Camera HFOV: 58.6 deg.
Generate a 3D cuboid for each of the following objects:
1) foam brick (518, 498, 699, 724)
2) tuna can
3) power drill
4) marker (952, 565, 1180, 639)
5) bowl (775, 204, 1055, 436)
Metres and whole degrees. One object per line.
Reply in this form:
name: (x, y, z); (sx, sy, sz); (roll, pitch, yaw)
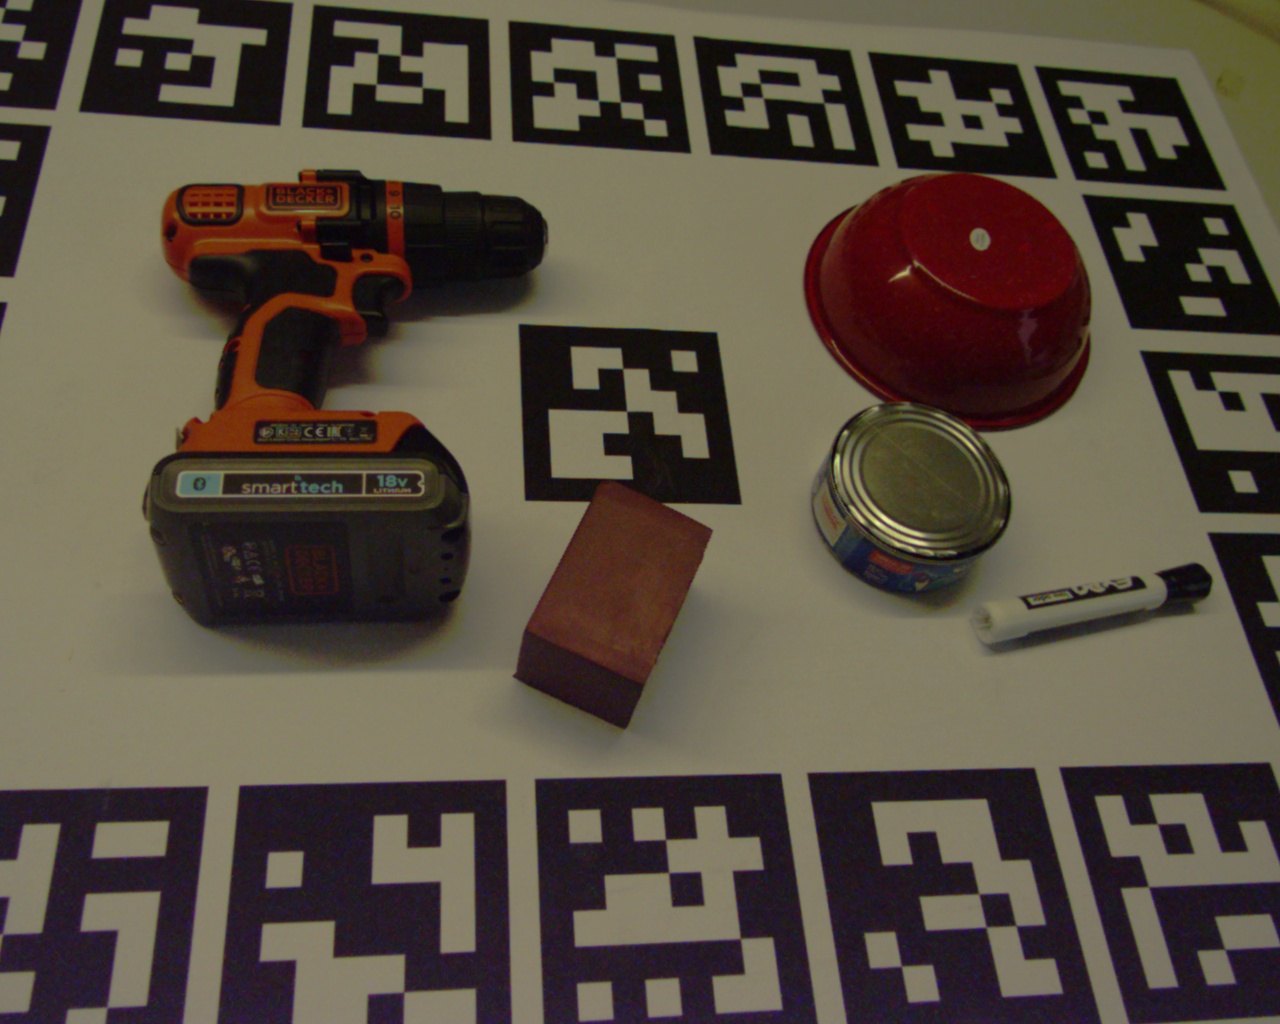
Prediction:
foam brick: (-0.014, 0.044, 0.502); (0.051, 0.053, 0.078); (22, 60, 0)
tuna can: (0.122, -0.007, 0.558); (0.085, 0.034, 0.086); (5, 59, -10)
power drill: (-0.136, -0.058, 0.533); (0.183, 0.057, 0.188); (1, 58, -14)
marker: (0.209, 0.043, 0.553); (0.120, 0.020, 0.020); (-8, 64, -15)
bowl: (0.160, -0.120, 0.630); (0.161, 0.055, 0.162); (3, 53, -5)
